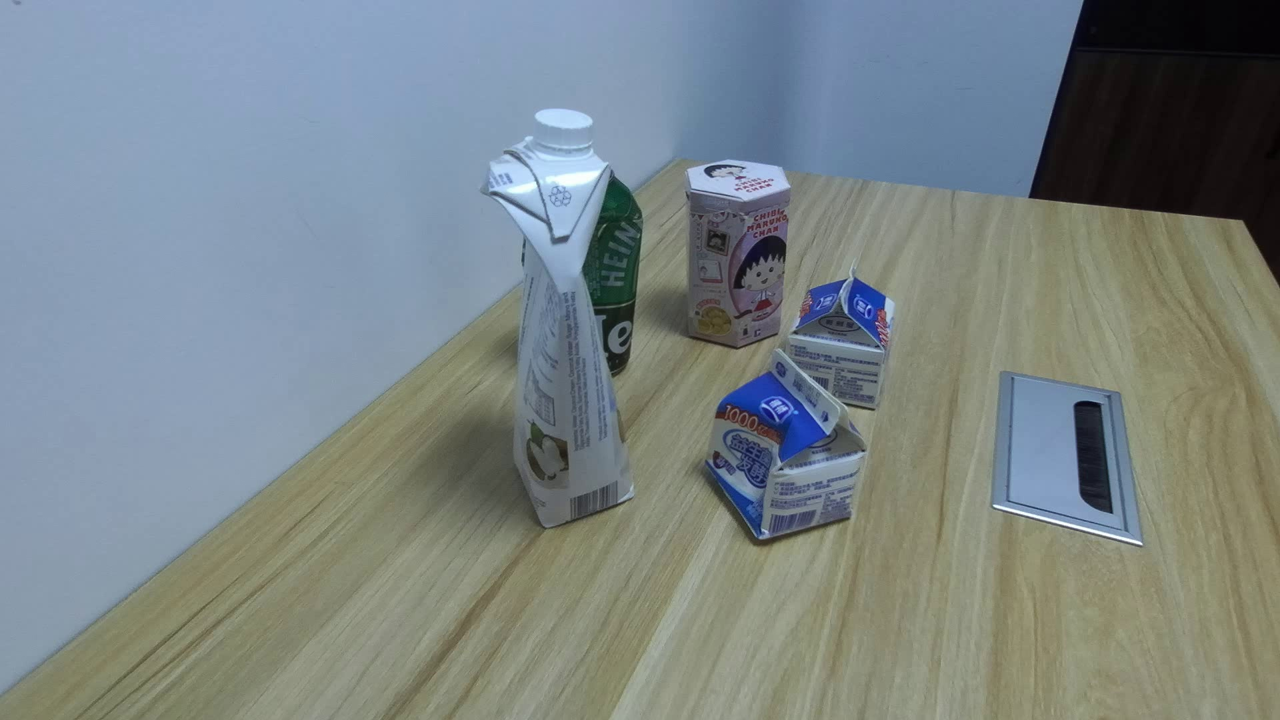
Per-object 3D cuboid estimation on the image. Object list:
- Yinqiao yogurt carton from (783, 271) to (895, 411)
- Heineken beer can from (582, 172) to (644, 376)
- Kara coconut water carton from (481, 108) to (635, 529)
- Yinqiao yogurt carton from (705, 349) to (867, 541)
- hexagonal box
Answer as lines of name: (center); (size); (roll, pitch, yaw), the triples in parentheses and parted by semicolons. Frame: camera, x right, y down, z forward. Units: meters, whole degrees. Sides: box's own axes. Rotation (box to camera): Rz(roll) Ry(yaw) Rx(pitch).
Yinqiao yogurt carton: (0.154, -0.025, 0.536); (0.073, 0.092, 0.076); (10, 34, 20)
Heineken beer can: (-0.045, -0.064, 0.549); (0.077, 0.164, 0.066); (27, 45, 33)
Kara coconut water carton: (-0.045, -0.017, 0.406); (0.069, 0.239, 0.114); (-14, 36, -18)
Yinqiao yogurt carton: (0.091, 0.048, 0.430); (0.071, 0.094, 0.077); (-9, 34, -19)
hexagonal box: (0.080, -0.088, 0.592); (0.091, 0.136, 0.083); (-20, 37, -25)
